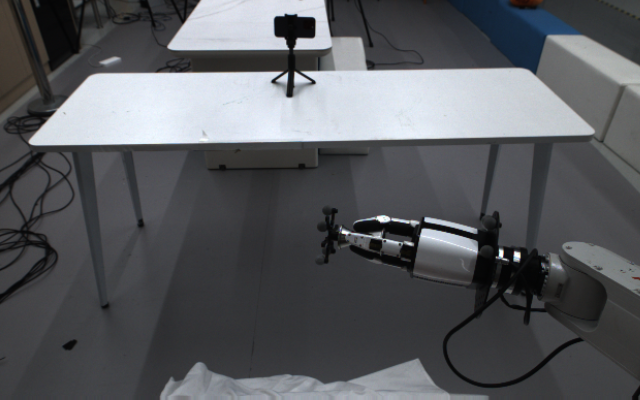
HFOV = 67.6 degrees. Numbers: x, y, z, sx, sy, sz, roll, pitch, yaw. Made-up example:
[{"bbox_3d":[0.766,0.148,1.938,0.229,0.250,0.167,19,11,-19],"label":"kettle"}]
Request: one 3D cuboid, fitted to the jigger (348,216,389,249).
[{"bbox_3d":[0.071,0.058,0.753,0.071,0.043,0.043,6,34,15],"label":"jigger"}]
